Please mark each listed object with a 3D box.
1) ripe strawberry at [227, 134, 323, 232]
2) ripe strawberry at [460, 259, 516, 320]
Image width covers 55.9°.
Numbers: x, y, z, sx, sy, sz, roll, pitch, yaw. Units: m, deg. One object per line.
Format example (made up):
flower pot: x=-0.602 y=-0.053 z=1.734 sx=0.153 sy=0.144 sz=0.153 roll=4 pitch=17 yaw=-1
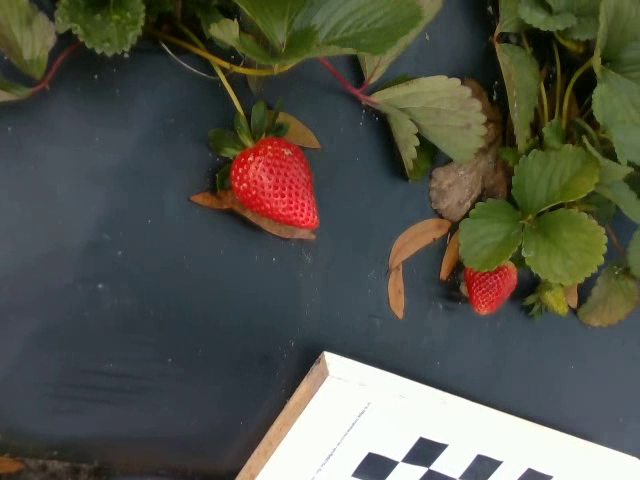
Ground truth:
ripe strawberry: x=-0.020 y=-0.024 z=0.324 sx=0.065 sy=0.047 sz=0.042 roll=49 pitch=25 yaw=23
ripe strawberry: x=0.109 y=0.034 z=0.383 sx=0.040 sy=0.042 sz=0.037 roll=33 pitch=-28 yaw=-26
